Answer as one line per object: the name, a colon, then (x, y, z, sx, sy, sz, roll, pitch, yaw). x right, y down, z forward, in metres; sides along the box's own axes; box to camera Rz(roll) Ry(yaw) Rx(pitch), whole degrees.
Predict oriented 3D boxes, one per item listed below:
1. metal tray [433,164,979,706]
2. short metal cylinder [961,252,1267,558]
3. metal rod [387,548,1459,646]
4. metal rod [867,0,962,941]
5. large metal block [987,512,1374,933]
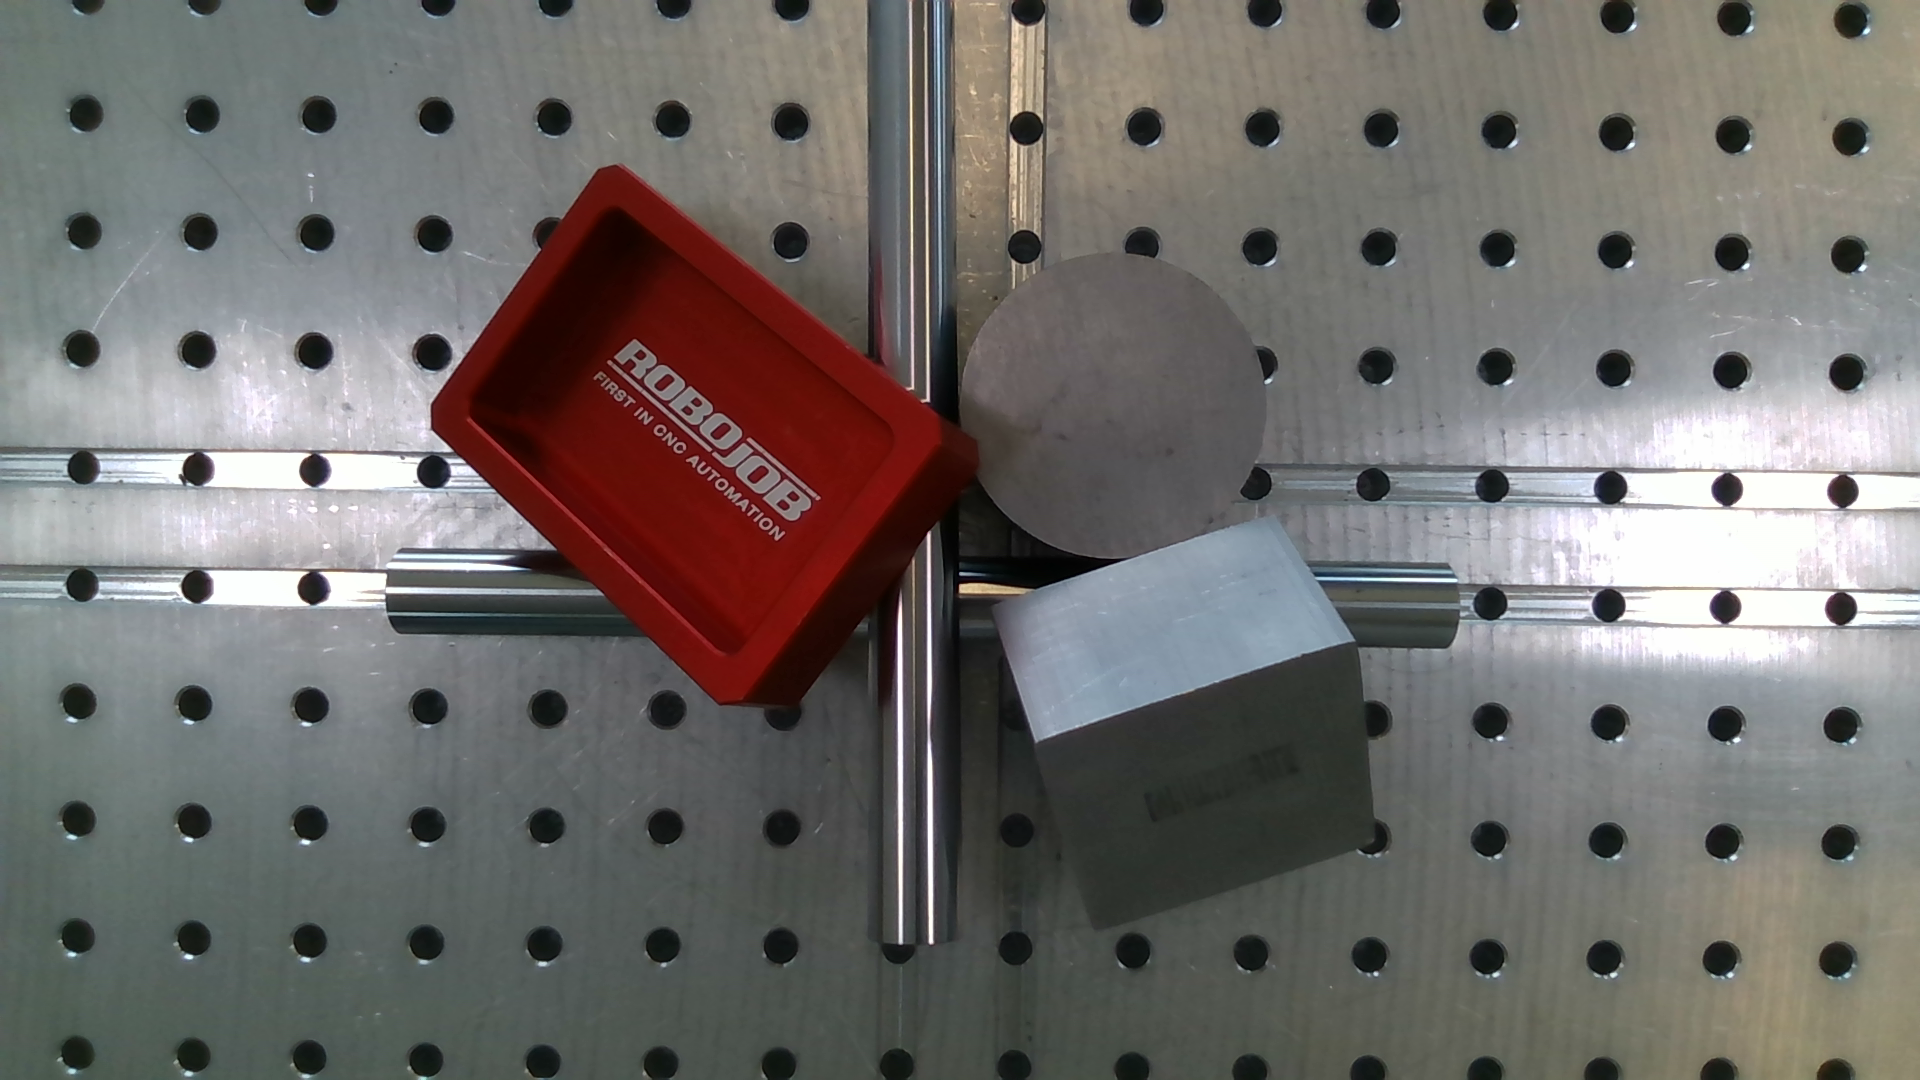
metal tray: (-0.071, -0.029, 0.369, 0.130, 0.030, 0.090, 40, 96, 21)
short metal cylinder: (0.040, -0.035, 0.385, 0.080, 0.050, 0.080, 0, 90, 0)
metal rod: (-0.010, 0.017, 0.398, 0.300, 0.025, 0.025, 1, 90, 0)
metal rod: (-0.013, -0.045, 0.381, 0.025, 0.025, 0.300, 0, 83, 0)
large metal block: (0.059, 0.049, 0.366, 0.080, 0.050, 0.080, -18, 130, 0)
